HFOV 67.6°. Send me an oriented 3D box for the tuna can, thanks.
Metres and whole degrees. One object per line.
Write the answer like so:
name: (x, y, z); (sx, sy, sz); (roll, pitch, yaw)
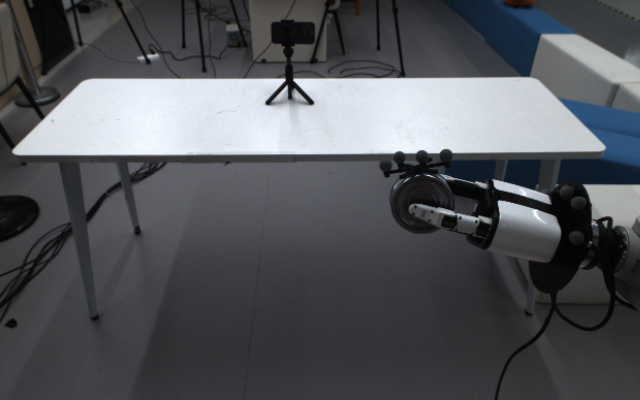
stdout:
tuna can: (0.141, 0.000, 0.662); (0.085, 0.085, 0.034); (6, 18, 5)
